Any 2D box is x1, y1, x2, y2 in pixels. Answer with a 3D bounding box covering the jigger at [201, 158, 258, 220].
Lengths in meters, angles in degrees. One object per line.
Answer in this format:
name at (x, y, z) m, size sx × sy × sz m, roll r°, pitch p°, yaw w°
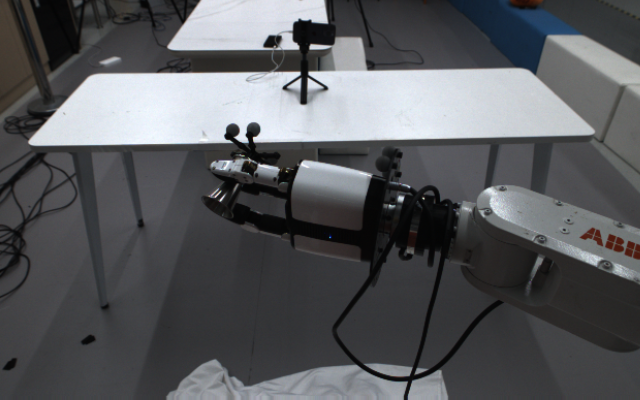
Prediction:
jigger at (-0.107, -0.020, 0.584) m, size 0.043 × 0.043 × 0.071 m, roll 19°, pitch 61°, yaw 23°
